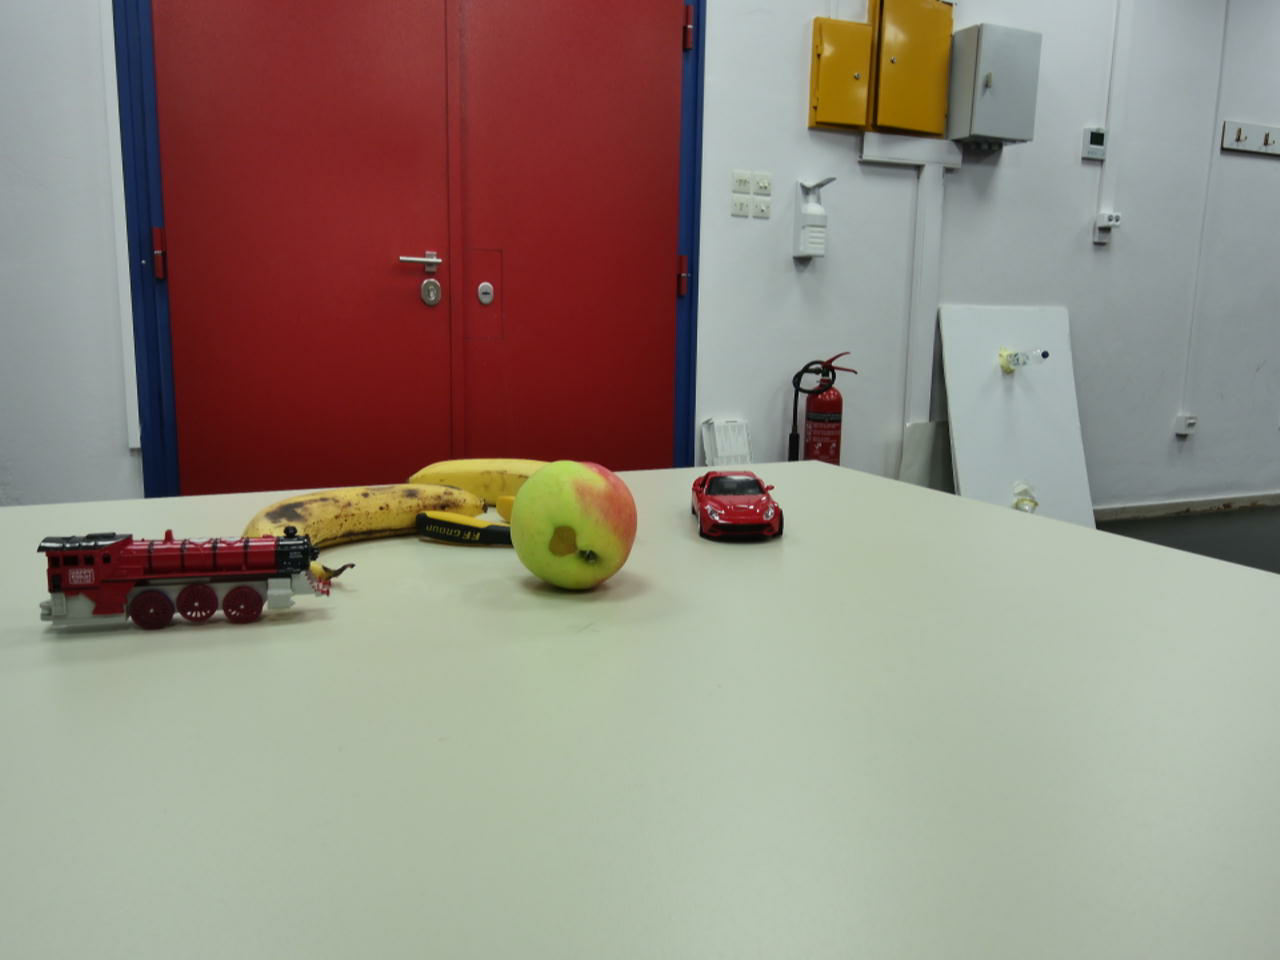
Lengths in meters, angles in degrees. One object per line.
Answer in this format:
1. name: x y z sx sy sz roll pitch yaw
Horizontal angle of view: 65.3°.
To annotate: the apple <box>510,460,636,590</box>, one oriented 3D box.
1. apple: -0.038 0.025 0.590 0.075 0.074 0.075 -7 11 -44
